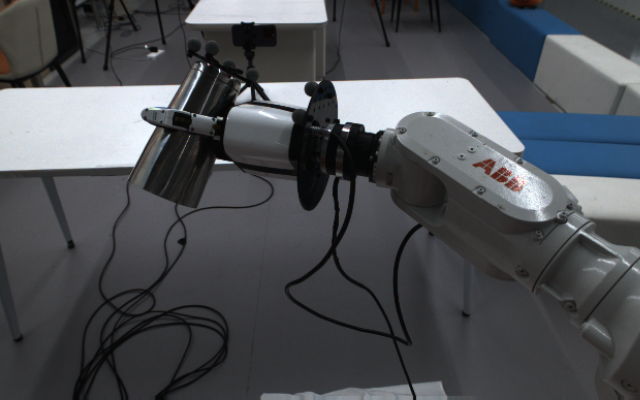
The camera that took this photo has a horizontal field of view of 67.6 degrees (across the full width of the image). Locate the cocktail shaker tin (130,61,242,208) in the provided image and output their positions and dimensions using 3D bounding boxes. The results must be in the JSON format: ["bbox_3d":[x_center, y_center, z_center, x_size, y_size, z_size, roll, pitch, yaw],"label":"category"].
[{"bbox_3d":[-0.165,-0.087,0.620,0.093,0.170,0.093,23,0,0],"label":"cocktail shaker tin"}]
